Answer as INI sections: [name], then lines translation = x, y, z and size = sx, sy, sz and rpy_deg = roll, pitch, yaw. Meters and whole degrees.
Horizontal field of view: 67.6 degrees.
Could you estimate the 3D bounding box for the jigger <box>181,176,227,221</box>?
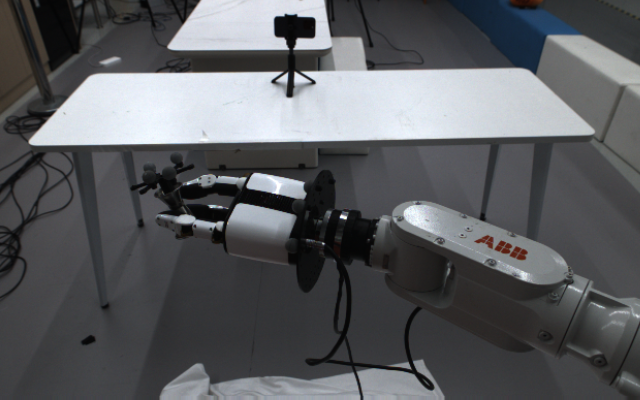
[jigger]
translation = -0.189, 0.013, 0.664
size = 0.043, 0.071, 0.043
rpy_deg = -18, 24, 8
